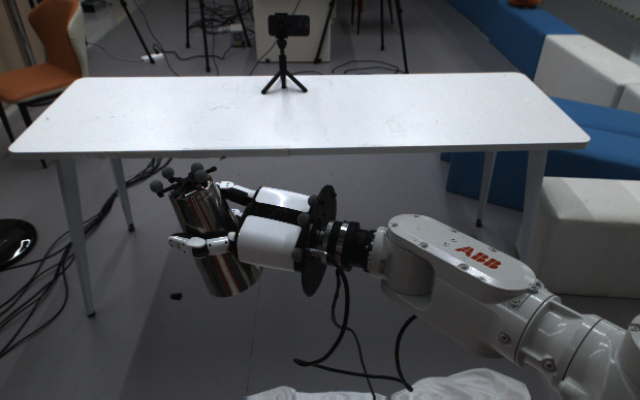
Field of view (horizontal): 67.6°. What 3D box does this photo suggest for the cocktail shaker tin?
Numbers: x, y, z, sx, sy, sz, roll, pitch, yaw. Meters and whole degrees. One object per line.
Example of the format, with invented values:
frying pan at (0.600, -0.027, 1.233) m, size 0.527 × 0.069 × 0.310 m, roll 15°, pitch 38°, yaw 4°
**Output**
cocktail shaker tin at (-0.158, 0.051, 0.718) m, size 0.093 × 0.170 × 0.093 m, roll -15°, pitch 29°, yaw 8°
